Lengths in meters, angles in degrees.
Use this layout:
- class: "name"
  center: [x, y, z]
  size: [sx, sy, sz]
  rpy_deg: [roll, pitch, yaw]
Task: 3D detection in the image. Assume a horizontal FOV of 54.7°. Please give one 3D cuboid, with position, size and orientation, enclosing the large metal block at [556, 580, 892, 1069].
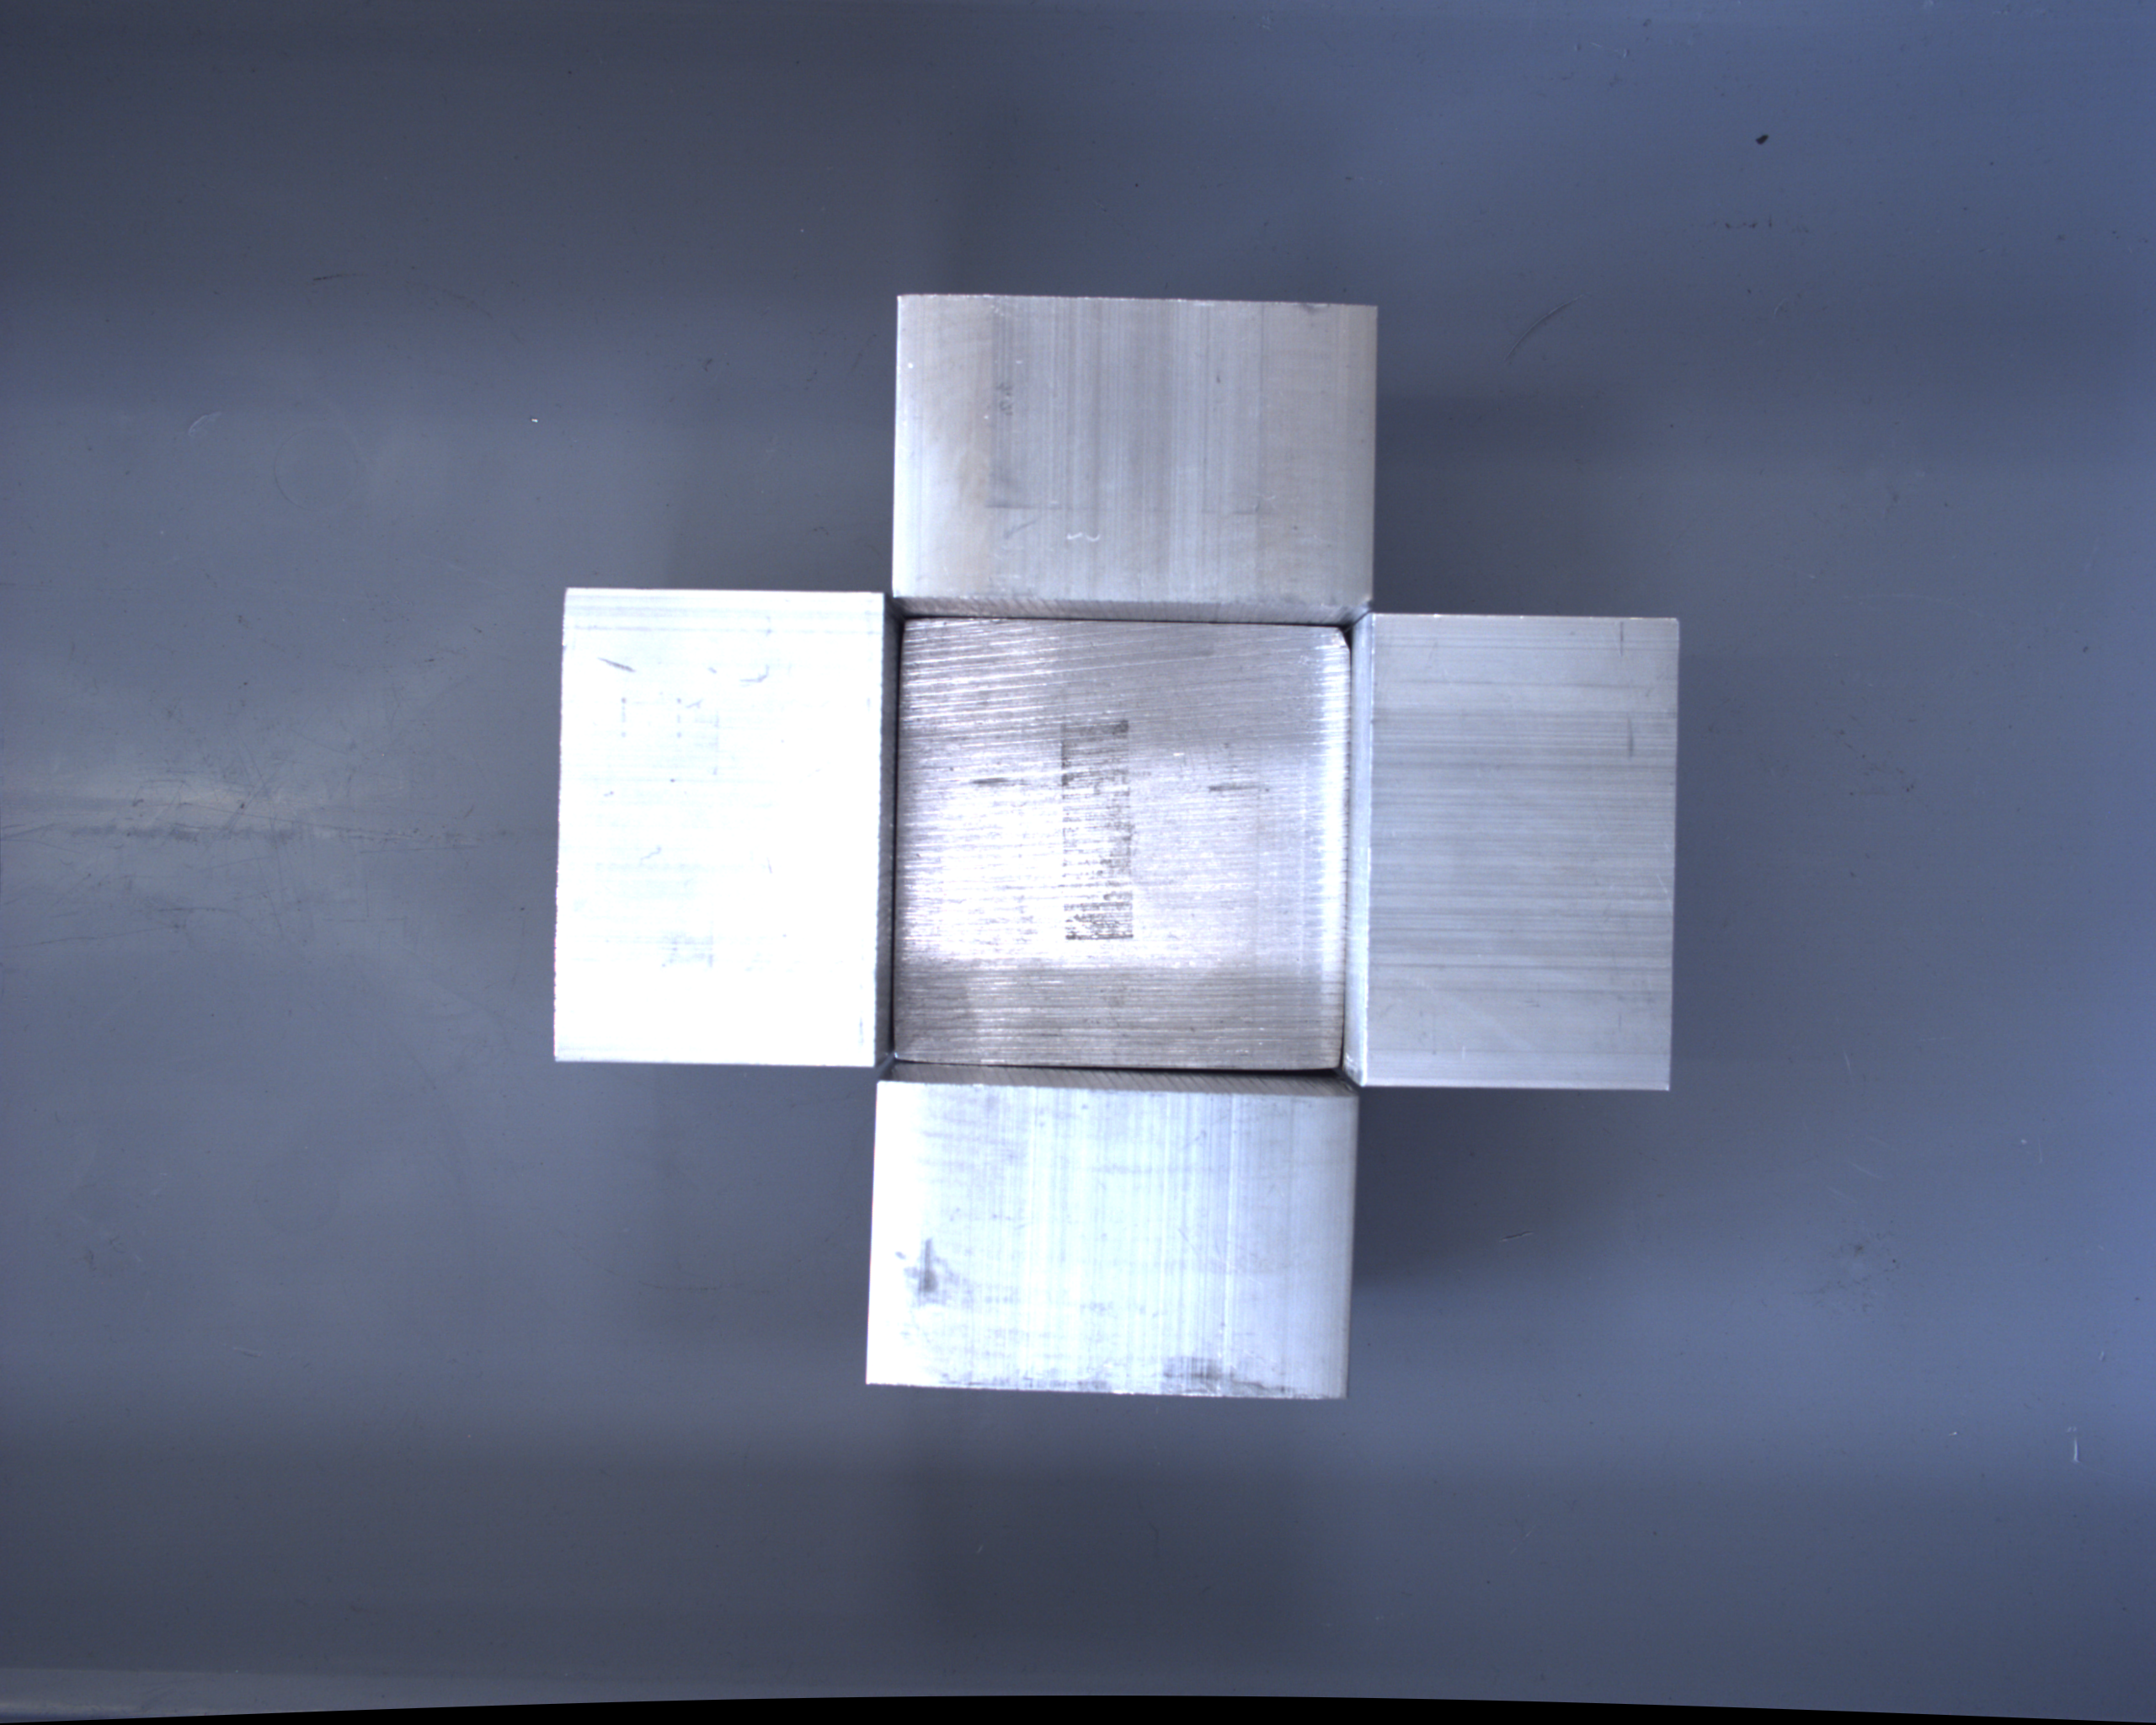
- class: "large metal block"
  center: [-0.060, -0.007, 0.382]
  size: [0.050, 0.080, 0.080]
  rpy_deg: [1, 90, 0]

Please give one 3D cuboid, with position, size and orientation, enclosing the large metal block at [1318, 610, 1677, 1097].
- class: "large metal block"
  center: [0.073, -0.002, 0.383]
  size: [0.050, 0.080, 0.080]
  rpy_deg: [1, 90, 0]

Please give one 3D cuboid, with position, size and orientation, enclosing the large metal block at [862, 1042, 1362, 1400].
- class: "large metal block"
  center: [0.006, 0.062, 0.382]
  size: [0.081, 0.080, 0.050]
  rpy_deg: [2, 90, 0]

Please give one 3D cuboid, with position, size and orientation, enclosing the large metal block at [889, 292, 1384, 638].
- class: "large metal block"
  center: [0.010, -0.068, 0.382]
  size: [0.081, 0.080, 0.050]
  rpy_deg: [1, 90, 0]

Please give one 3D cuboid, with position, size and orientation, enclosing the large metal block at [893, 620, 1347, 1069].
- class: "large metal block"
  center: [0.008, -0.004, 0.396]
  size: [0.081, 0.050, 0.080]
  rpy_deg: [1, 90, 0]
